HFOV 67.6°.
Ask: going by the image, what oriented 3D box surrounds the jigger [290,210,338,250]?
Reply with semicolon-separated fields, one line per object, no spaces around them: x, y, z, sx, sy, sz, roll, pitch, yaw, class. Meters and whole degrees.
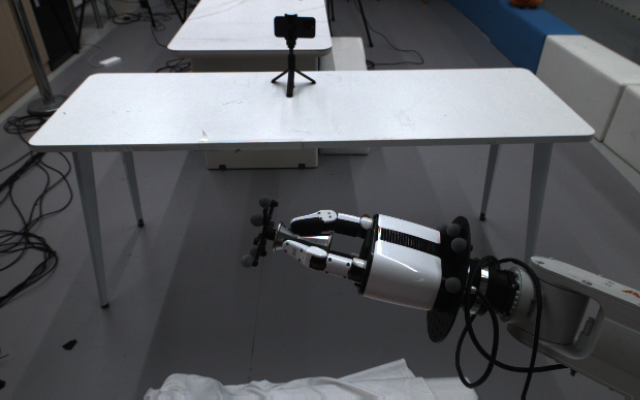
-0.015;0.052;0.613;0.071;0.043;0.043;14;36;5;jigger
